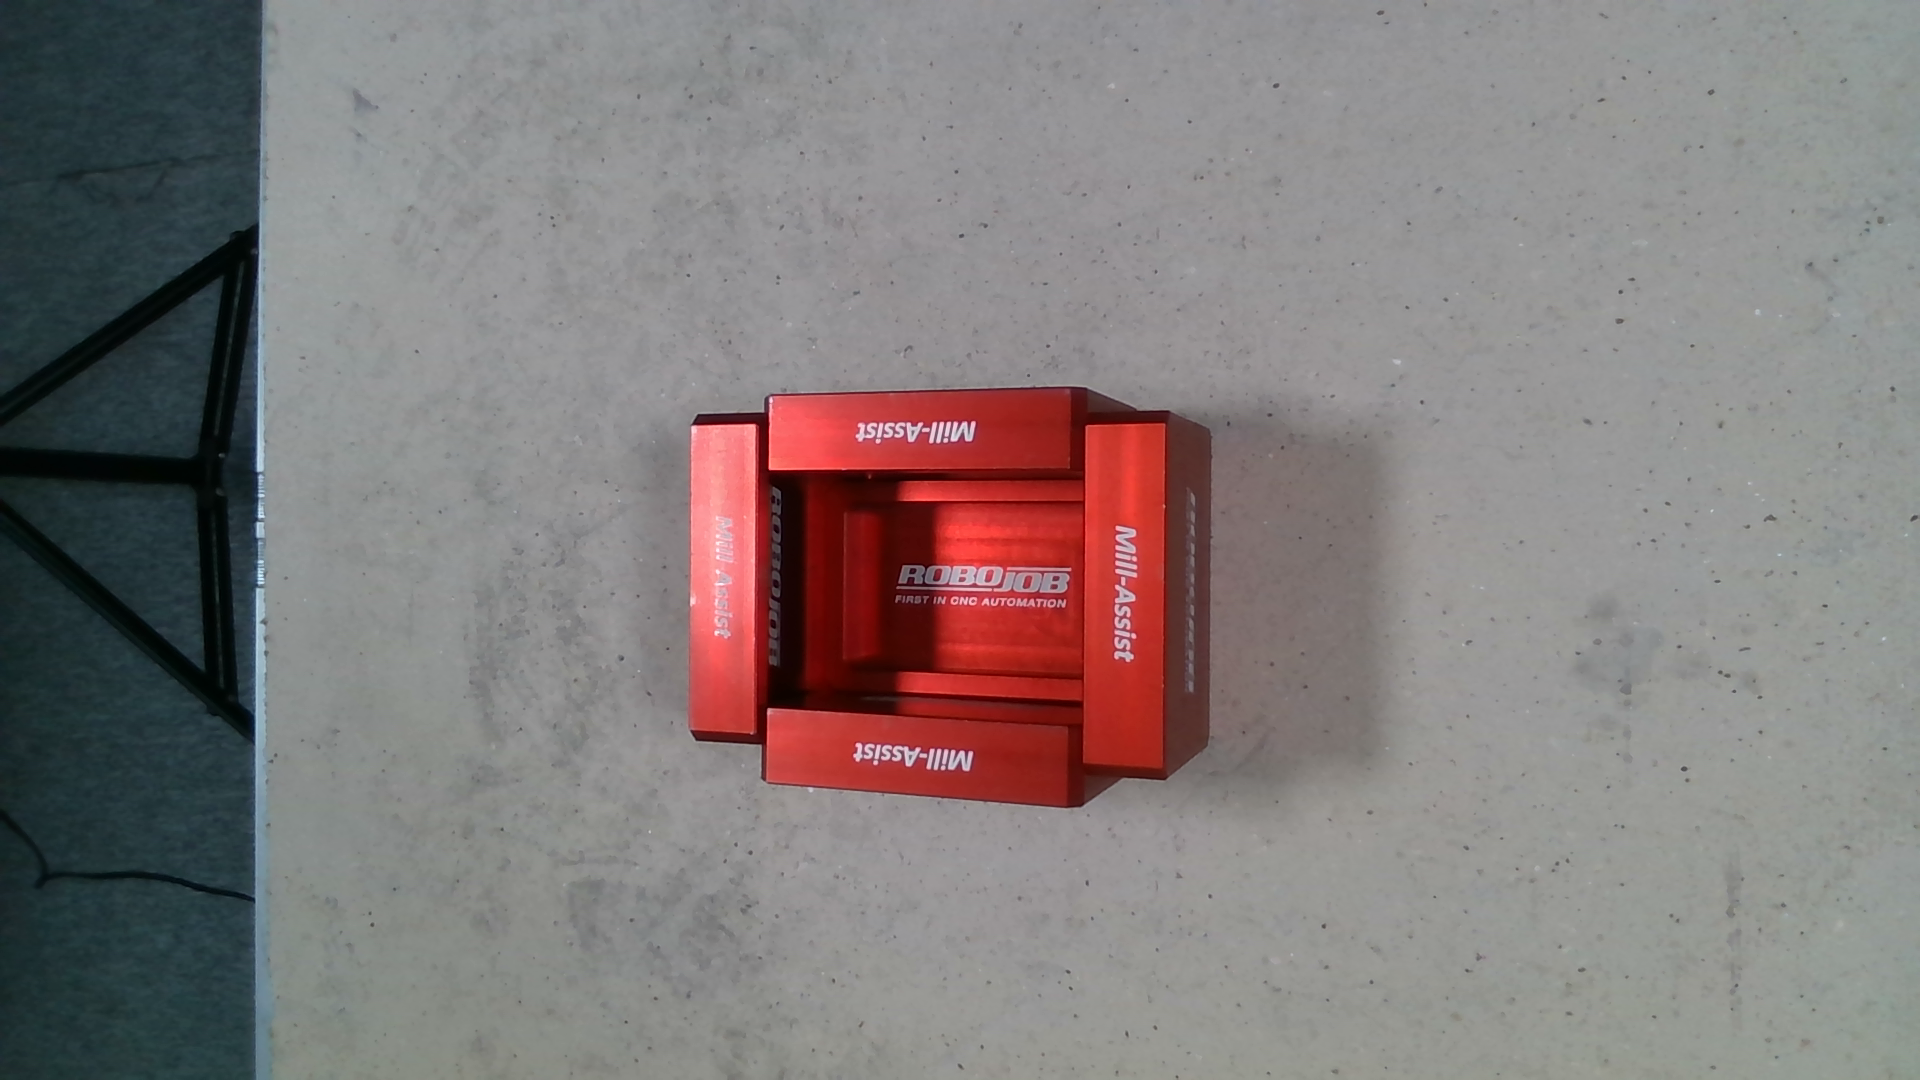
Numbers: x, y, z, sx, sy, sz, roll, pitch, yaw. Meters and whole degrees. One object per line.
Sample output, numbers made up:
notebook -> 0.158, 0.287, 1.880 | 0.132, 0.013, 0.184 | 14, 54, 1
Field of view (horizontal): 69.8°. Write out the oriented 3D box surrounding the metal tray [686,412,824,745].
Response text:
metal tray -> -0.078, 0.015, 0.580 | 0.030, 0.090, 0.130 | 1, 91, 20

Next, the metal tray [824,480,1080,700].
metal tray -> 0.008, 0.019, 0.580 | 0.130, 0.030, 0.090 | 1, 91, 20

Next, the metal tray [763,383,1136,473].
metal tray -> -0.002, -0.041, 0.551 | 0.130, 0.090, 0.030 | 1, 90, 20

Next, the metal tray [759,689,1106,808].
metal tray -> -0.004, 0.080, 0.553 | 0.130, 0.090, 0.030 | 1, 90, 20

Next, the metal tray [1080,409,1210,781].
metal tray -> 0.072, 0.019, 0.524 | 0.030, 0.090, 0.130 | 1, 91, 20
